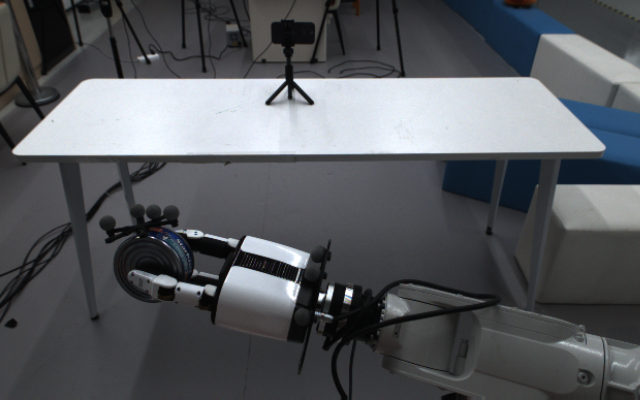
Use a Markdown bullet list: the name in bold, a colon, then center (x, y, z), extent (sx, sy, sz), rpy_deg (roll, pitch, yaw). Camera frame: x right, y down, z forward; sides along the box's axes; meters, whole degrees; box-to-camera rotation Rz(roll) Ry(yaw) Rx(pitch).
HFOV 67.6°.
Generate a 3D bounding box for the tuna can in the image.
- **tuna can**: center (-0.190, 0.082, 0.560), extent (0.085, 0.085, 0.034), rpy_deg (6, 18, 5)
